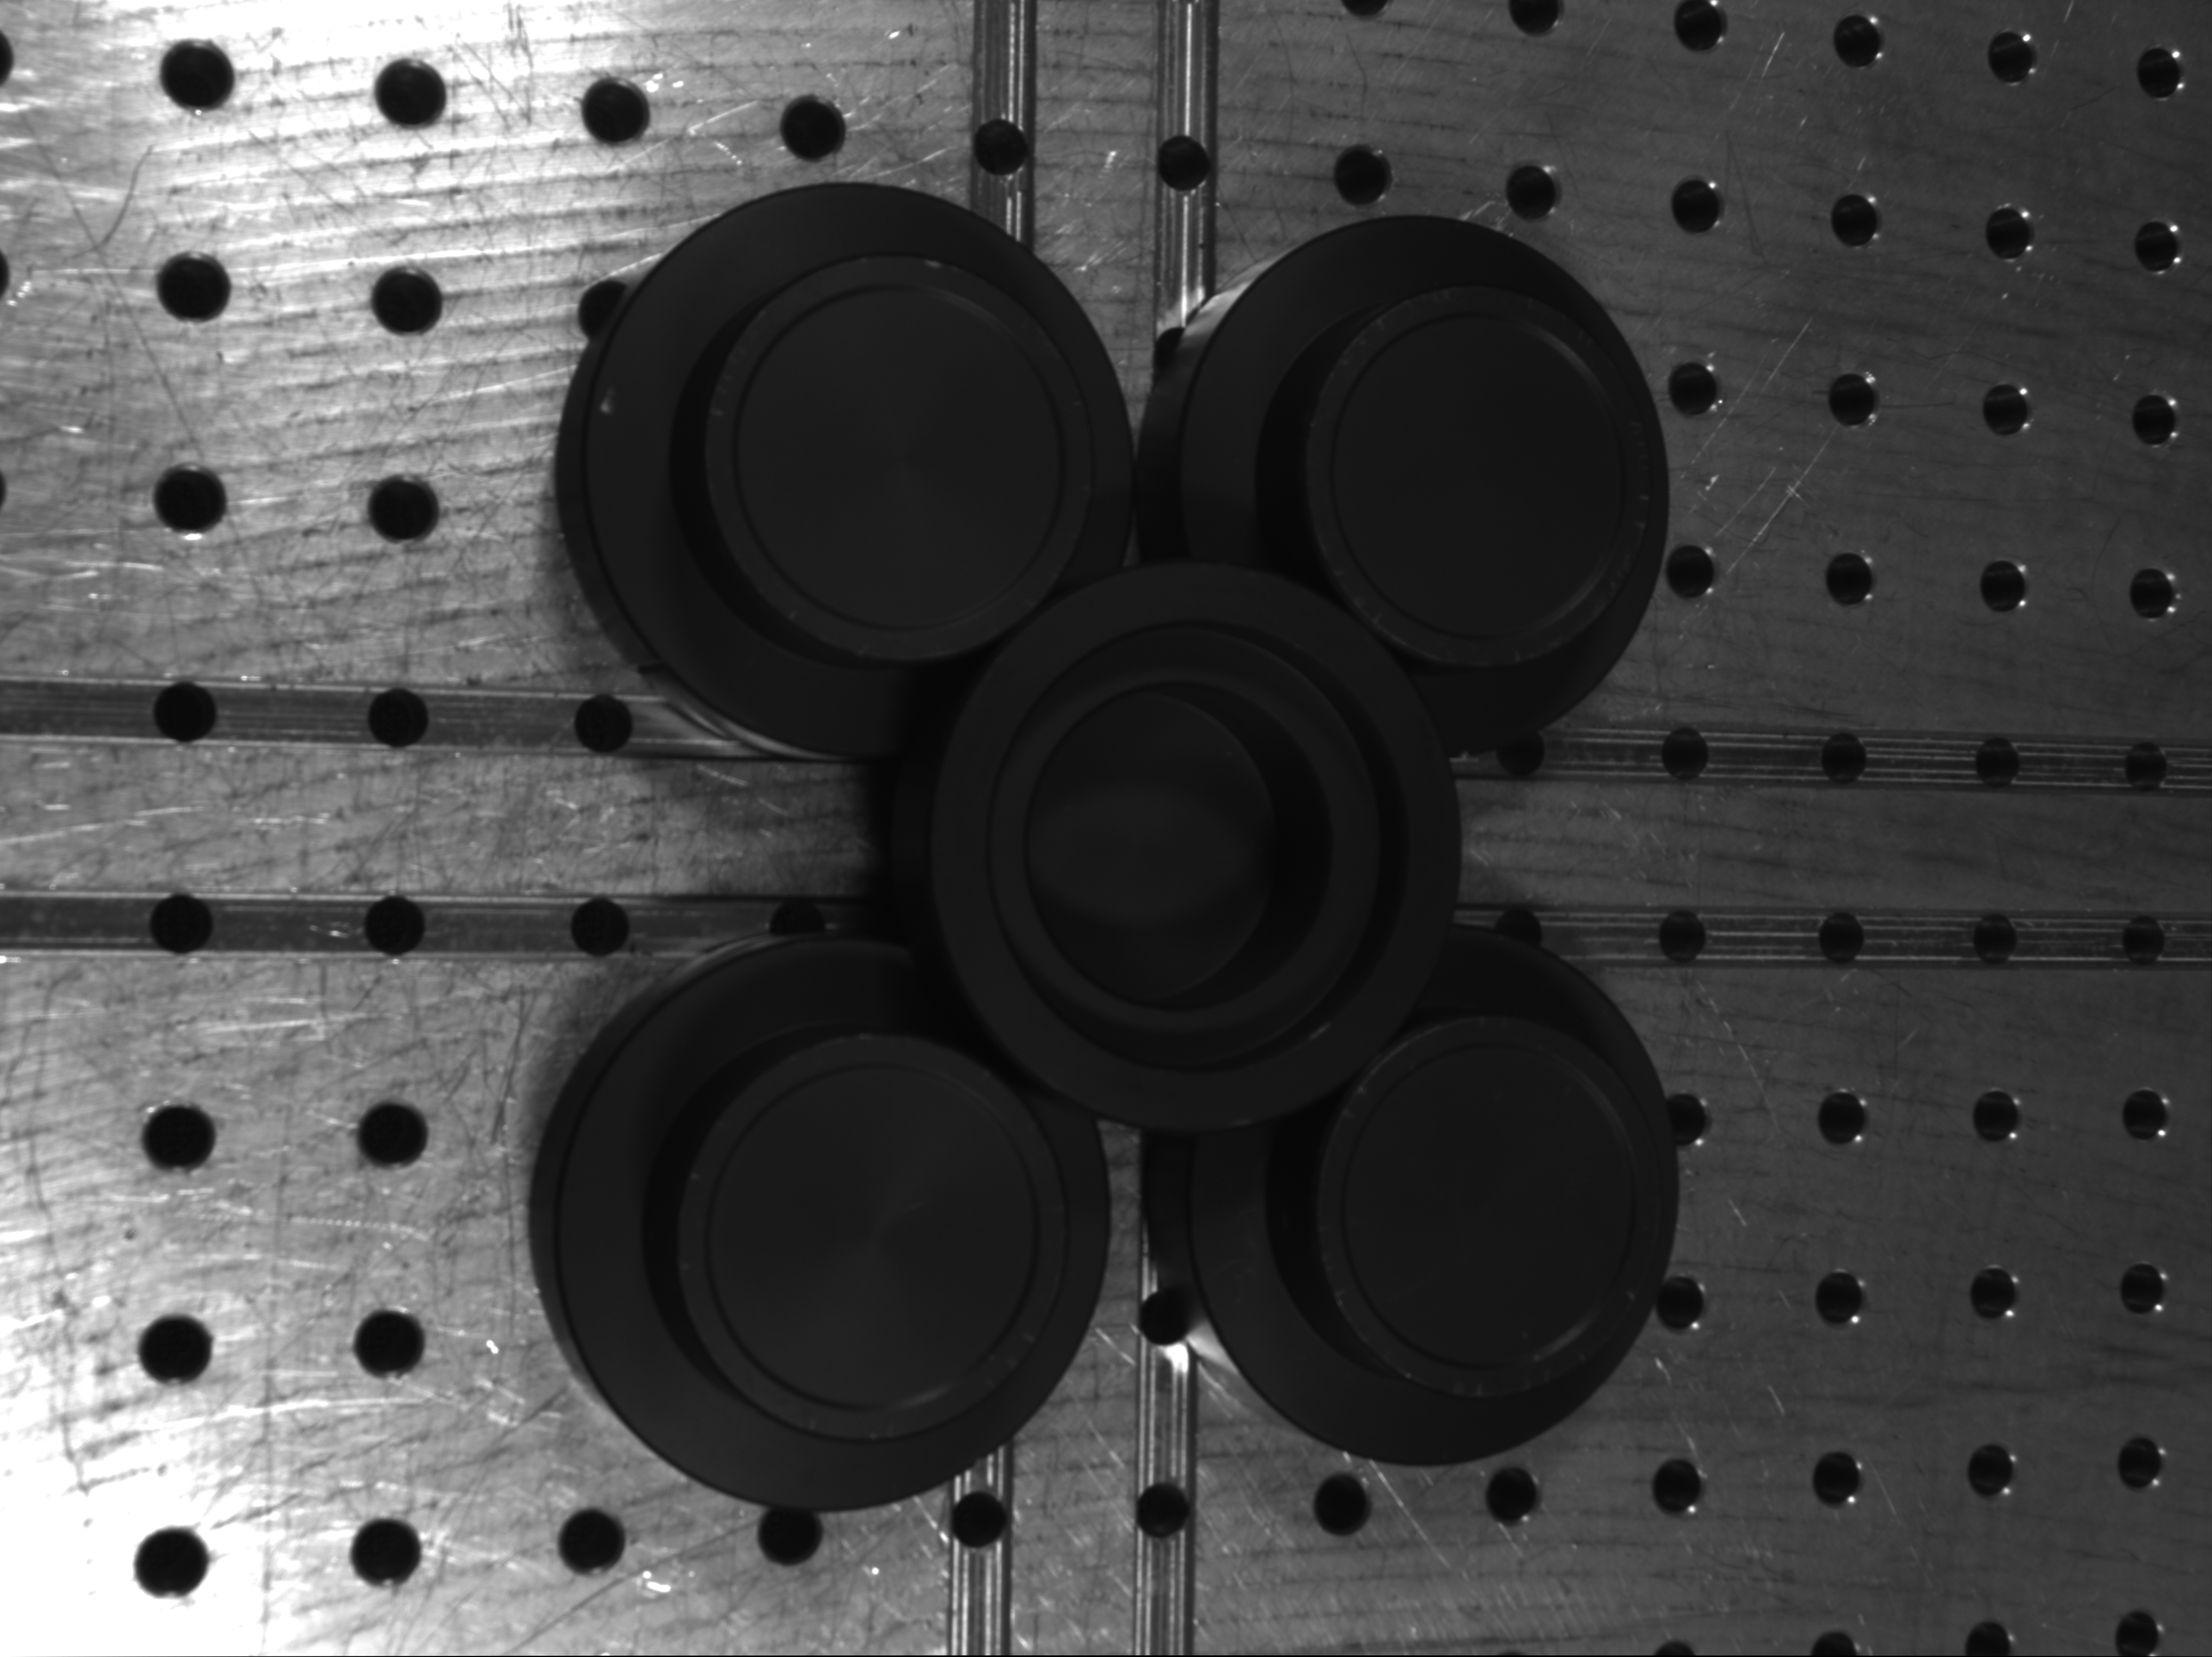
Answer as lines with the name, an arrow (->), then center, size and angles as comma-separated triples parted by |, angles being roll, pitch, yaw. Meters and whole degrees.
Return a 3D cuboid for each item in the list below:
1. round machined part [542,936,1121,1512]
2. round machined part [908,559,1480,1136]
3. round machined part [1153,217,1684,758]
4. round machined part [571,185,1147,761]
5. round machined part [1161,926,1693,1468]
round machined part -> -0.043, 0.067, 0.621 | 0.098, 0.042, 0.098 | 0, 90, -20
round machined part -> 0.012, 0.003, 0.639 | 0.098, 0.042, 0.098 | 0, 90, -20
round machined part -> 0.061, -0.061, 0.658 | 0.098, 0.042, 0.098 | 0, 90, -20
round machined part -> -0.038, -0.061, 0.622 | 0.098, 0.042, 0.098 | 0, 90, -20
round machined part -> 0.063, 0.066, 0.659 | 0.098, 0.042, 0.098 | 0, 90, -20
